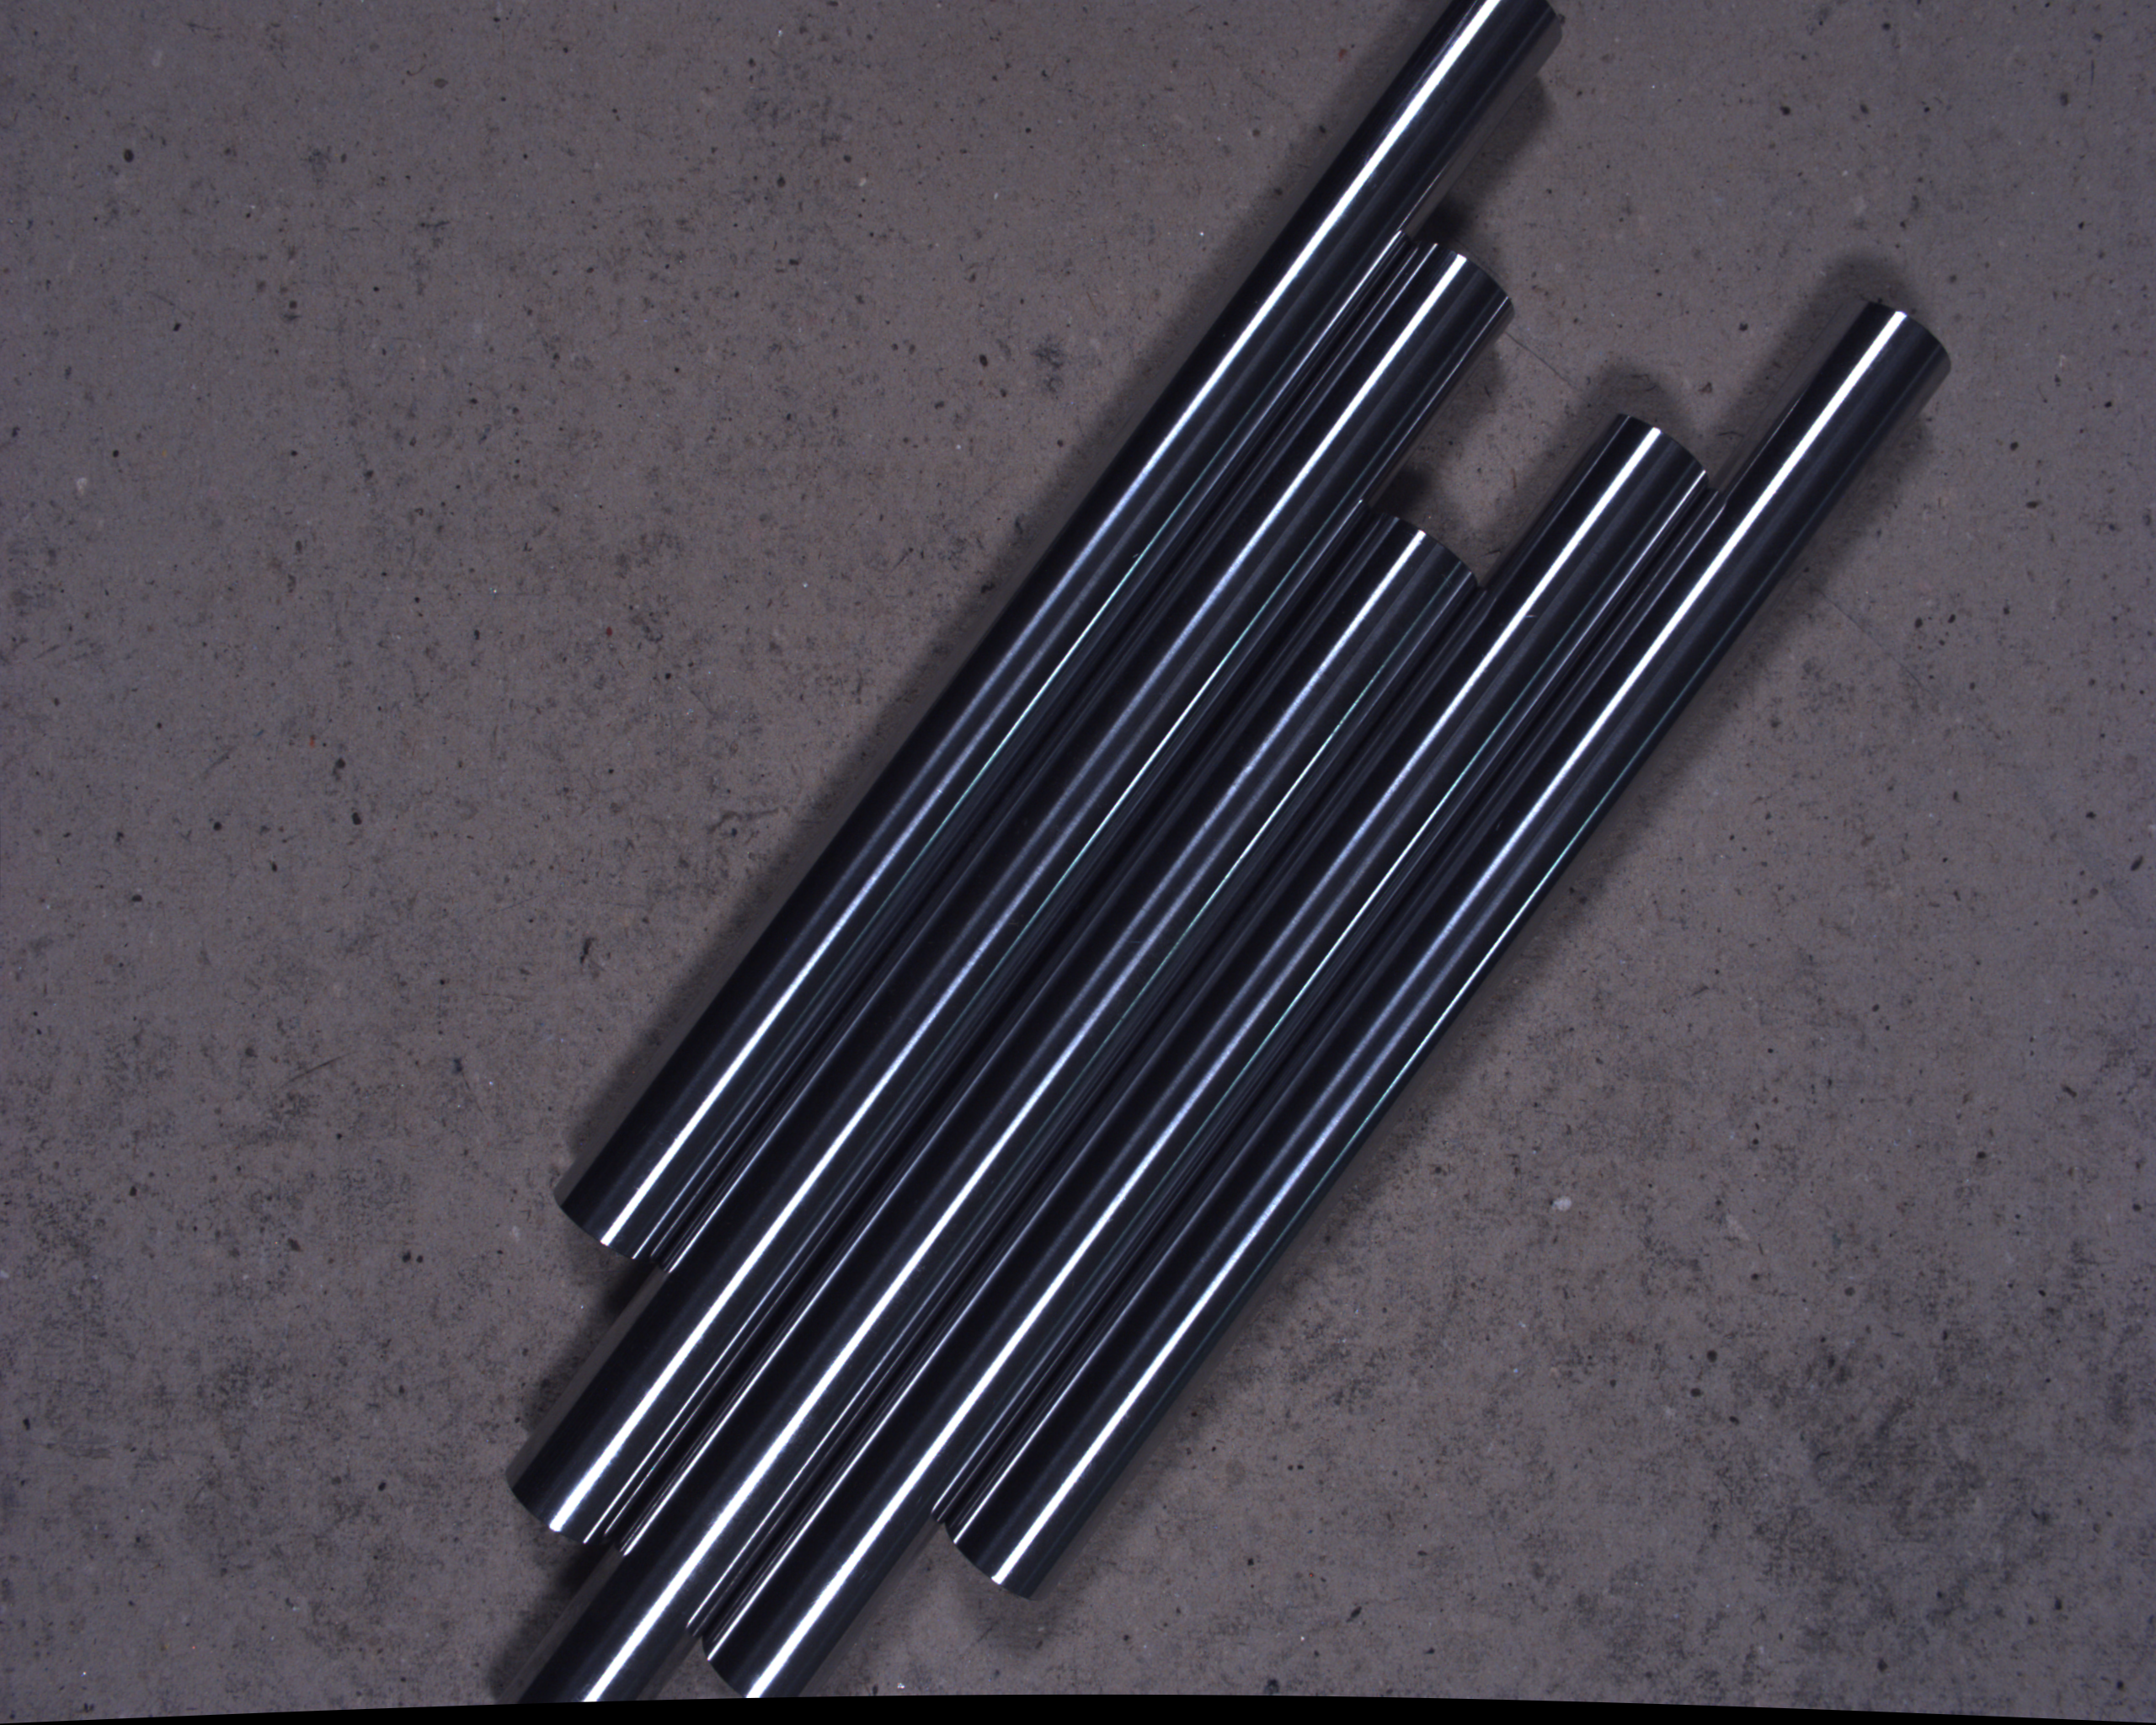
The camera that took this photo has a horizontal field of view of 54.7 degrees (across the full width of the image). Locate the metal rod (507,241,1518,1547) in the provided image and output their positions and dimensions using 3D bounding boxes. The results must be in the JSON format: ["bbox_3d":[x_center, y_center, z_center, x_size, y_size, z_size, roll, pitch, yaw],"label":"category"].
[{"bbox_3d":[-0.013,0.006,0.411,0.025,0.025,0.299,36,90,-1],"label":"metal rod"}]

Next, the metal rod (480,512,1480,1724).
[{"bbox_3d":[-0.020,0.059,0.411,0.025,0.025,0.299,36,90,-1],"label":"metal rod"}]

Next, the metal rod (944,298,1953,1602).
[{"bbox_3d":[0.073,0.017,0.412,0.025,0.025,0.299,36,90,-1],"label":"metal rod"}]

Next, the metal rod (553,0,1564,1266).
[{"bbox_3d":[-0.004,-0.049,0.411,0.025,0.025,0.299,36,90,-1],"label":"metal rod"}]

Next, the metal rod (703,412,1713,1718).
[{"bbox_3d":[0.026,0.039,0.411,0.025,0.025,0.299,36,90,-1],"label":"metal rod"}]
